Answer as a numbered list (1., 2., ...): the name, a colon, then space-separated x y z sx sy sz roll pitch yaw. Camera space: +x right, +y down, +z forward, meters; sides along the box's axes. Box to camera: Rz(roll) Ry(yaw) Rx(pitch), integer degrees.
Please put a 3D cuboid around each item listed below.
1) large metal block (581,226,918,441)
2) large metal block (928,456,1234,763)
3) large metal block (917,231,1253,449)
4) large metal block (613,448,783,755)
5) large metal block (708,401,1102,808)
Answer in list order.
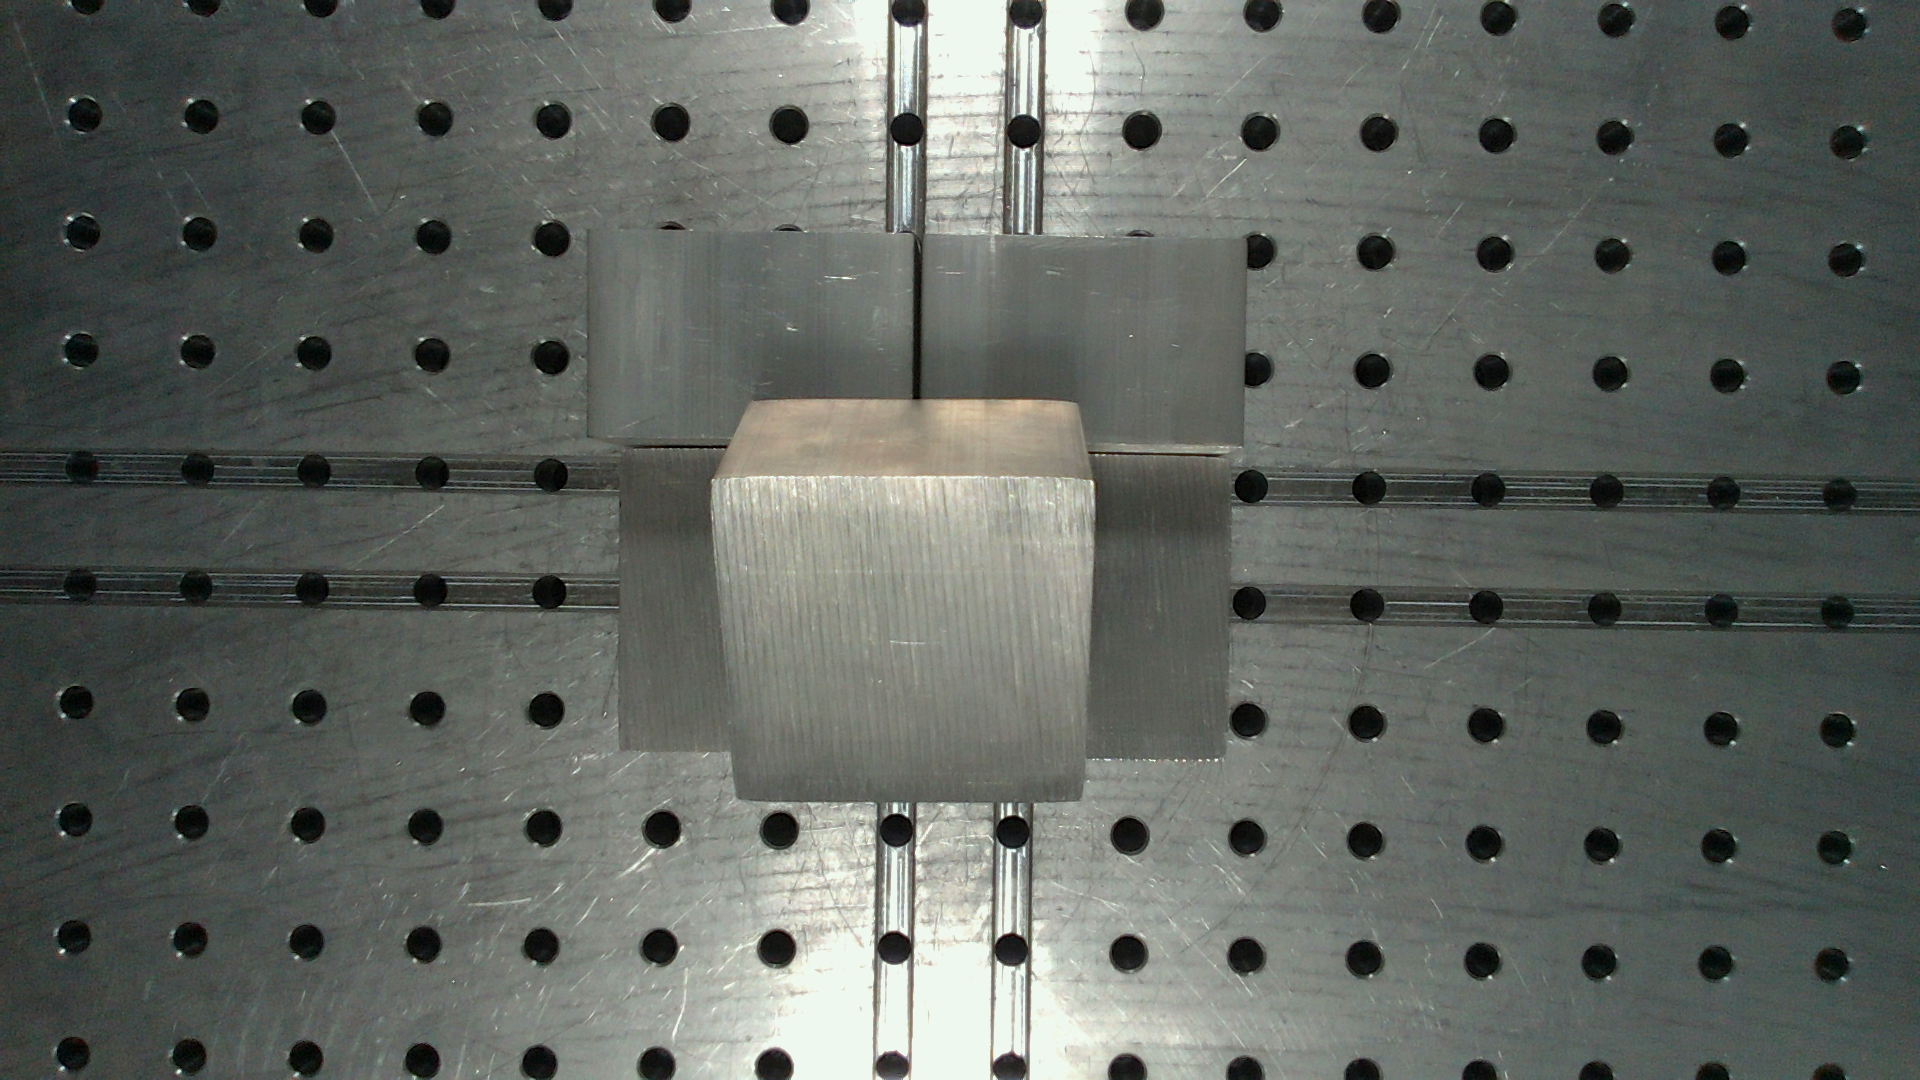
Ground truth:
1. large metal block: -0.050 -0.050 0.369 0.080 0.080 0.050 1 90 0
2. large metal block: 0.031 0.017 0.383 0.080 0.050 0.080 1 90 0
3. large metal block: 0.030 -0.049 0.369 0.080 0.080 0.050 1 90 0
4. large metal block: -0.050 0.016 0.383 0.080 0.050 0.080 1 90 0
5. large metal block: -0.011 0.014 0.318 0.080 0.050 0.080 0 114 0
